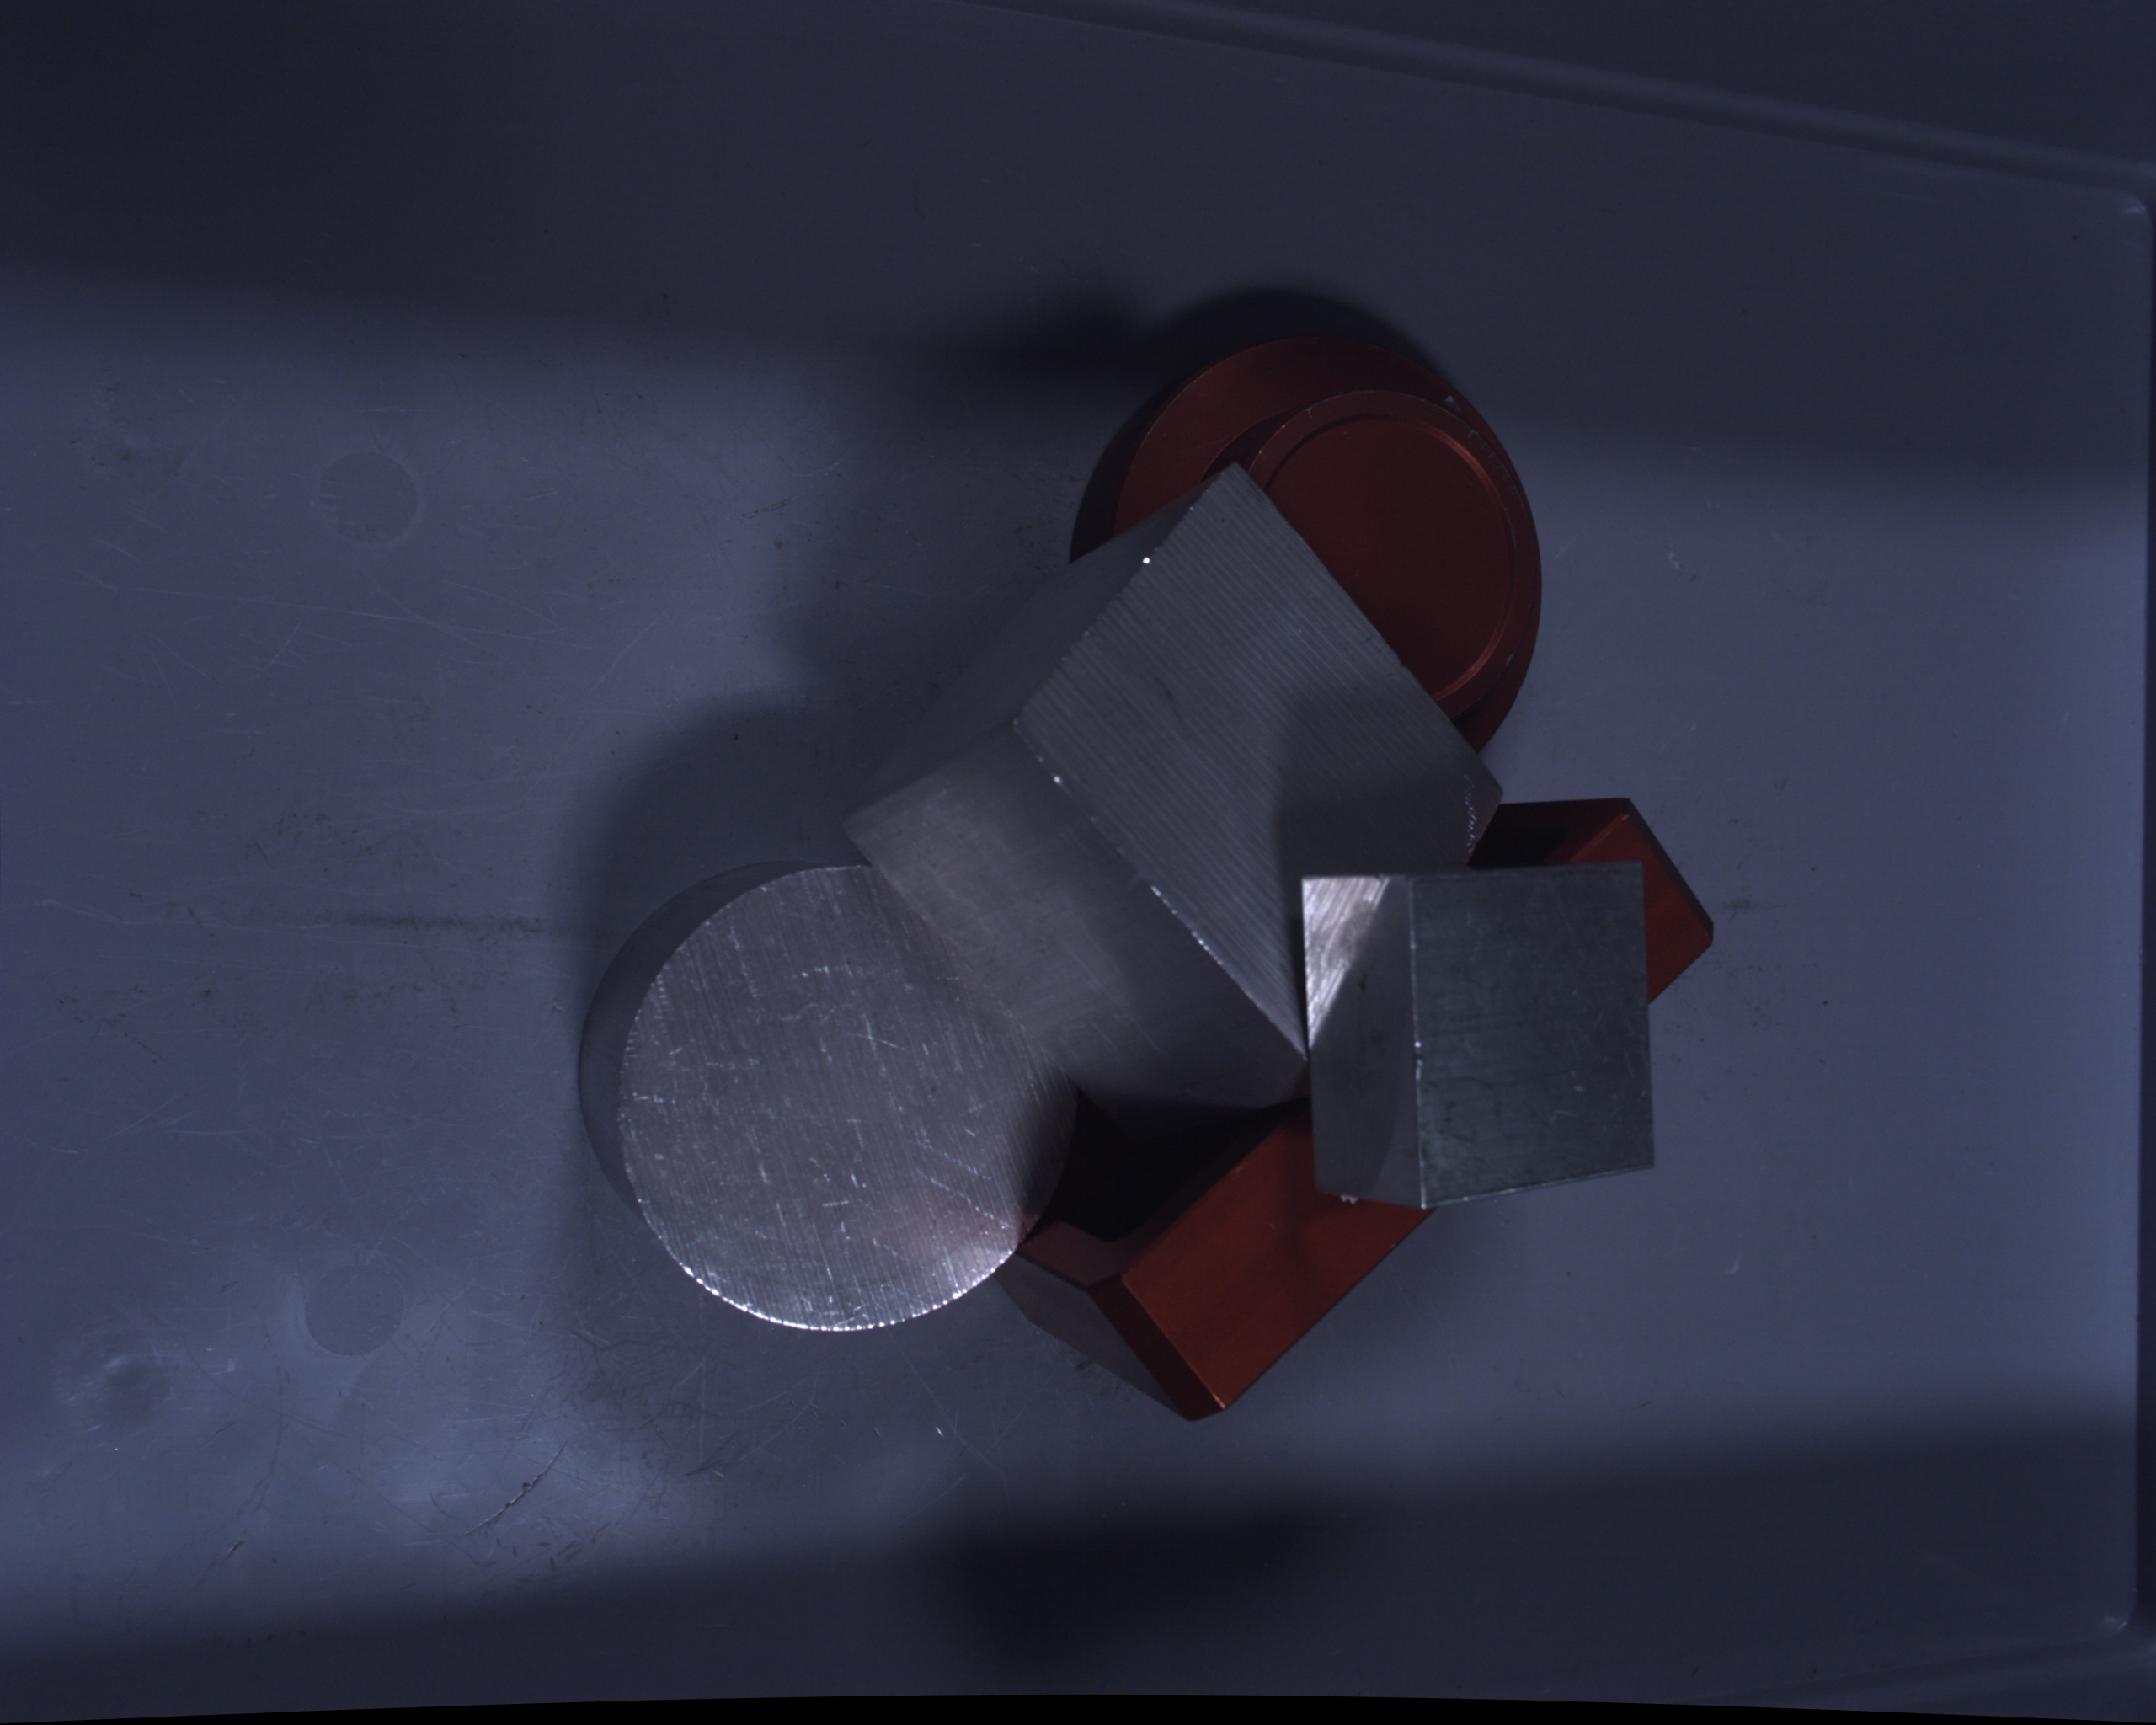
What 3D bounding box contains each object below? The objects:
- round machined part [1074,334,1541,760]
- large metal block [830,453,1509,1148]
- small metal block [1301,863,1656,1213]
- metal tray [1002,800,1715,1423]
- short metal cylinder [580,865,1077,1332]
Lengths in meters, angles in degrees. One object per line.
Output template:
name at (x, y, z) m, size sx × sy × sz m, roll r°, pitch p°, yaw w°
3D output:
round machined part at (0.052, -0.058, 0.420) m, size 0.099 × 0.042 × 0.097 m, roll 0°, pitch 90°, yaw -21°
large metal block at (0.019, -0.010, 0.365) m, size 0.080 × 0.050 × 0.080 m, roll 48°, pitch 50°, yaw -14°
small metal block at (0.064, 0.026, 0.332) m, size 0.050 × 0.025 × 0.050 m, roll -3°, pitch 91°, yaw -33°
metal tray at (0.044, 0.040, 0.391) m, size 0.131 × 0.090 × 0.030 m, roll -40°, pitch 102°, yaw -16°
short metal cylinder at (-0.047, 0.040, 0.379) m, size 0.081 × 0.050 × 0.079 m, roll 0°, pitch 90°, yaw -21°
